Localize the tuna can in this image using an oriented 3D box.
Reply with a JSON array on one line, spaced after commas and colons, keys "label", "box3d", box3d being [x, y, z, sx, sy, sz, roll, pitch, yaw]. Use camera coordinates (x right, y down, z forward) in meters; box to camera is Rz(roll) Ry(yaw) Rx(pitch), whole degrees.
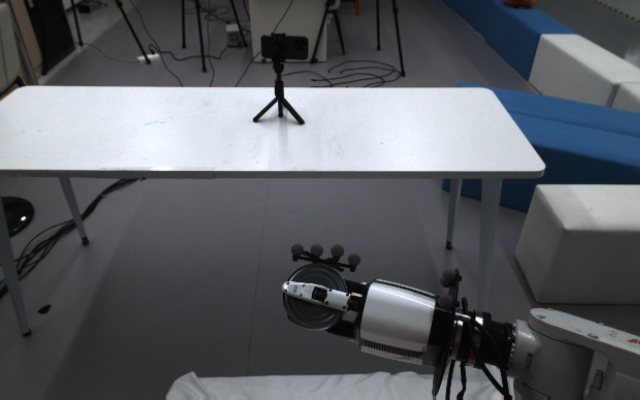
[{"label": "tuna can", "box3d": [-0.003, 0.125, 0.639, 0.085, 0.034, 0.085, -3, 67, 7]}]
